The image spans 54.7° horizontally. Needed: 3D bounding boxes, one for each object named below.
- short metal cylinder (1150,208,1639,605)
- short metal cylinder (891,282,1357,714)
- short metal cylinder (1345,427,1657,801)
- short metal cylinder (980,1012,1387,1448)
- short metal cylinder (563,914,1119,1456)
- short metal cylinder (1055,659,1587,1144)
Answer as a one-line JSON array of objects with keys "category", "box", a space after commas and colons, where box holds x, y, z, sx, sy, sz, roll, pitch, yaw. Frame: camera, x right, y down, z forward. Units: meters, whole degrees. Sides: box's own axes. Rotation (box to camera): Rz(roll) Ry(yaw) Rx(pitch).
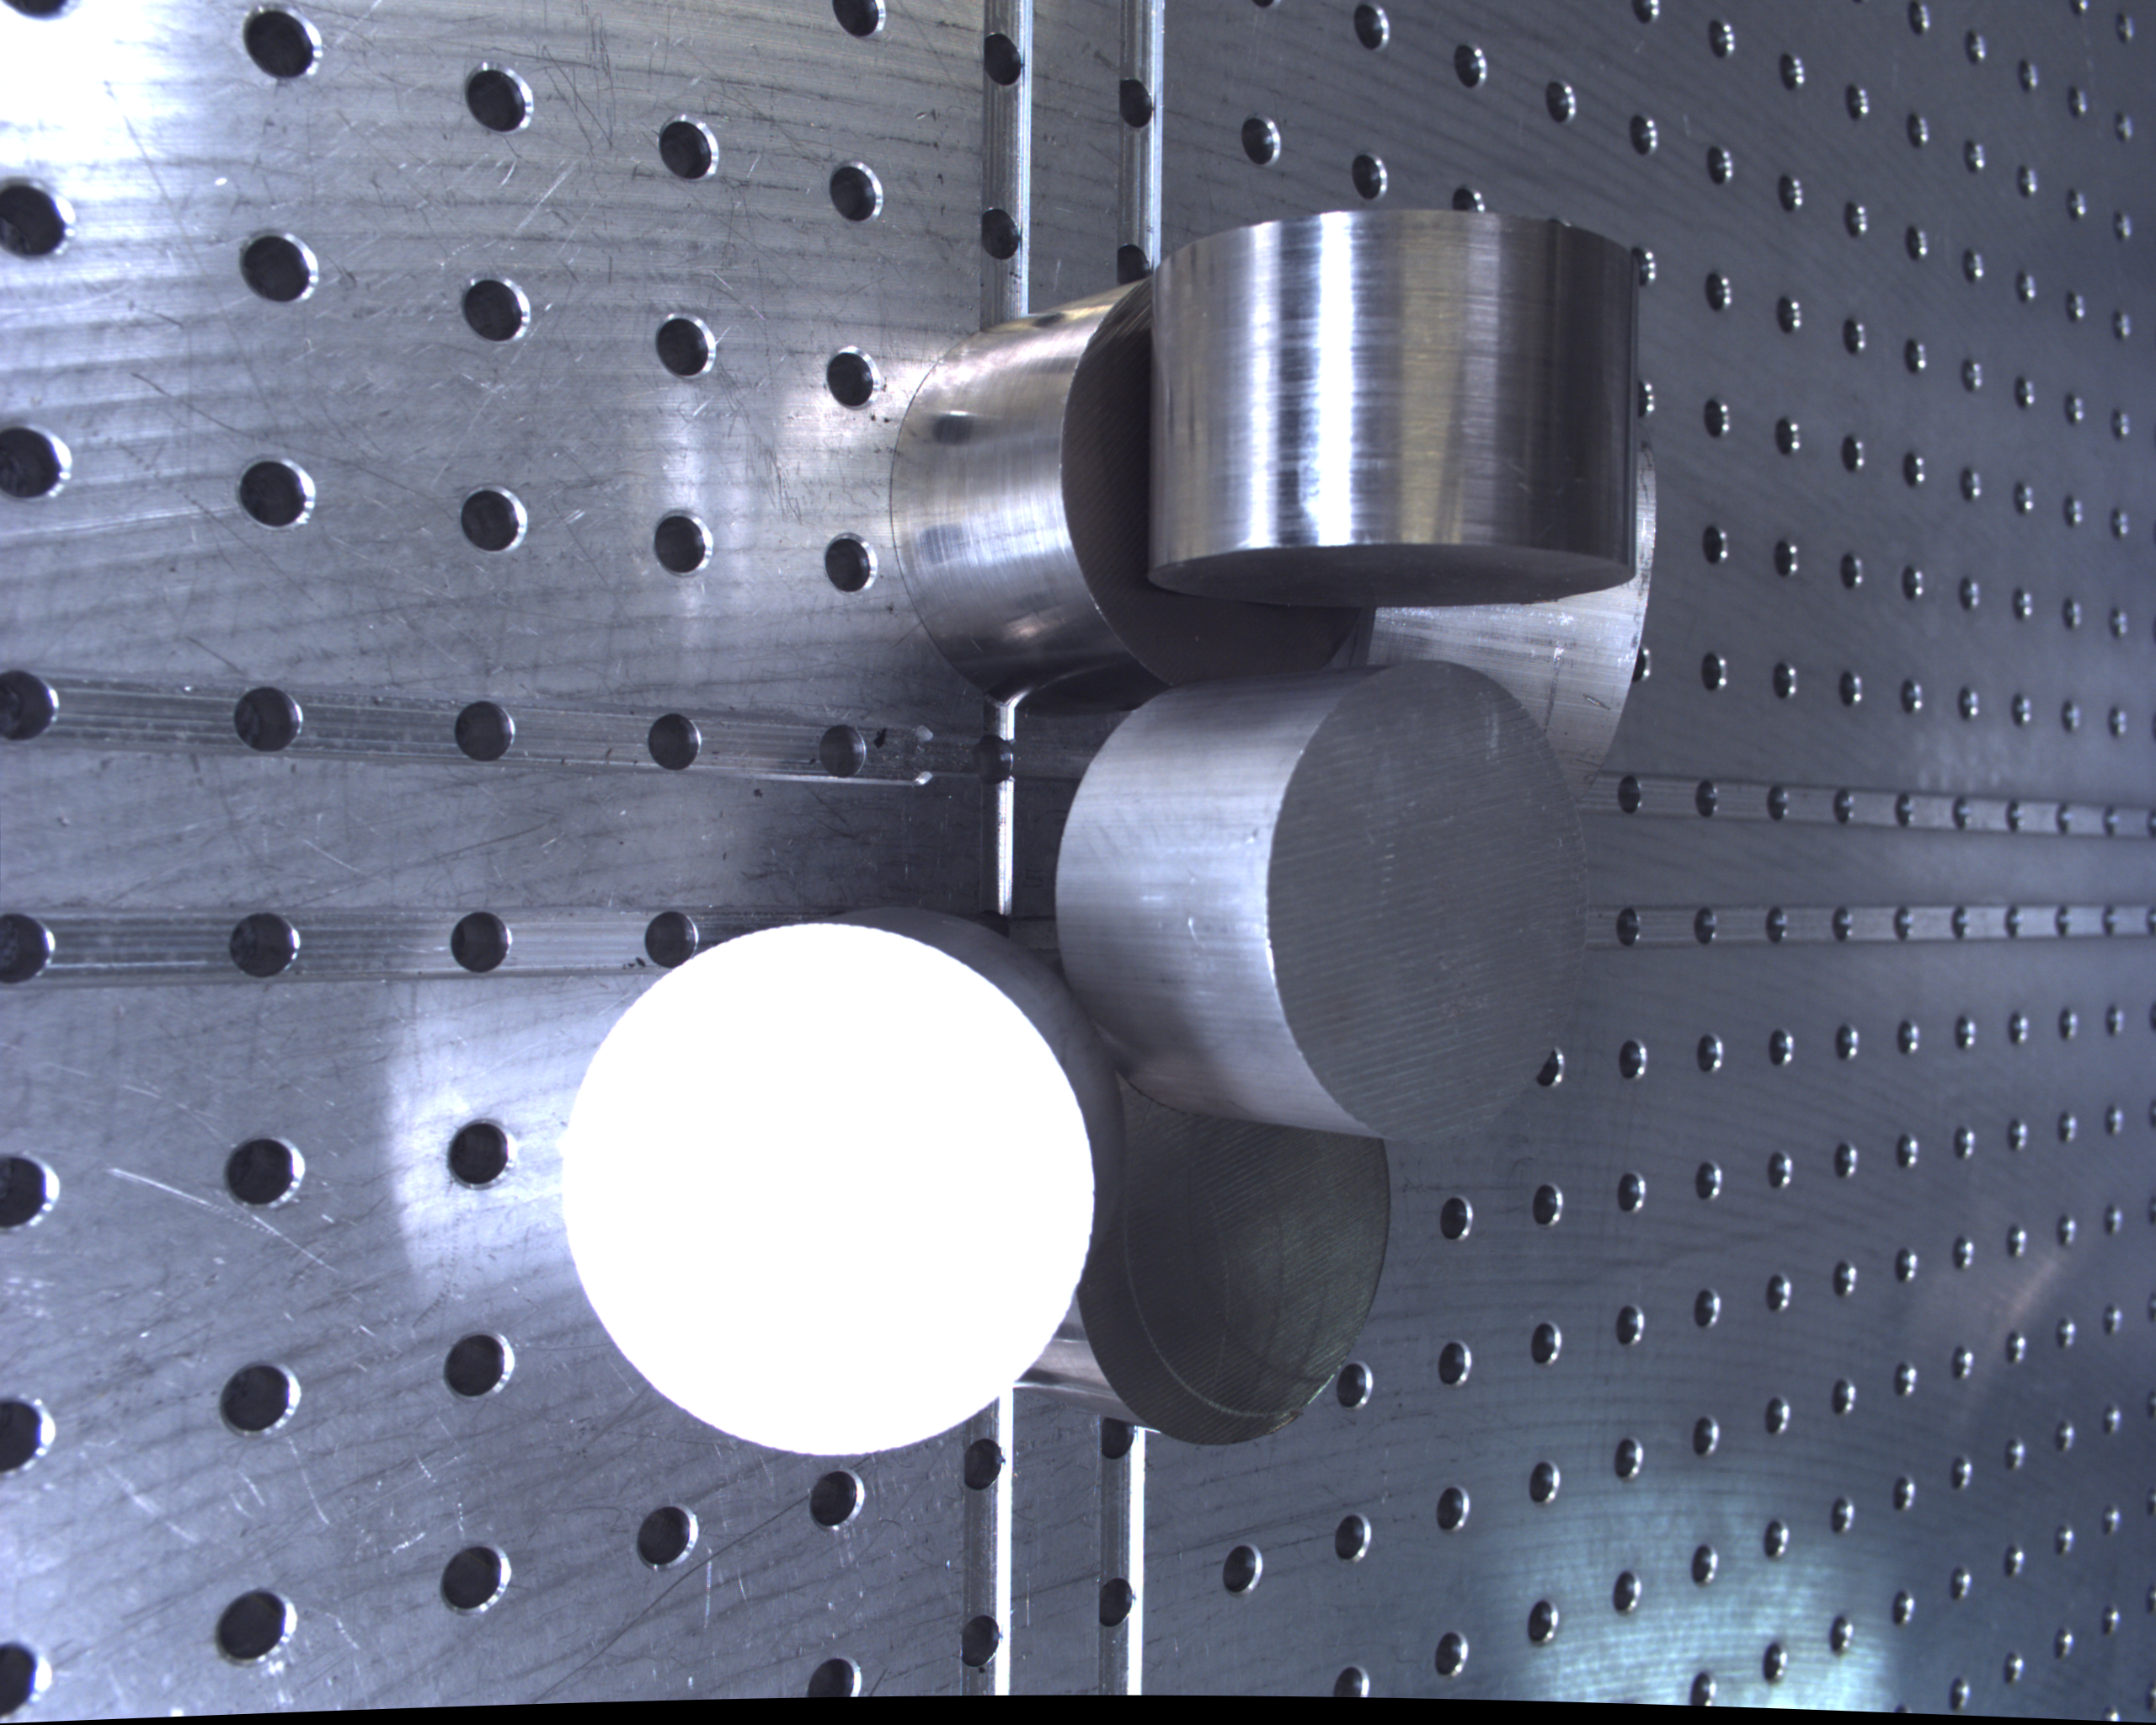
[{"category": "short metal cylinder", "box": [0.053, -0.073, 0.350, 0.081, 0.080, 0.050, 0, 90, -40]}, {"category": "short metal cylinder", "box": [0.012, -0.069, 0.402, 0.081, 0.050, 0.079, -1, 91, -40]}, {"category": "short metal cylinder", "box": [0.084, -0.055, 0.434, 0.050, 0.080, 0.080, 8, 83, 1]}, {"category": "short metal cylinder", "box": [0.014, 0.067, 0.403, 0.081, 0.050, 0.079, -1, 92, -40]}, {"category": "short metal cylinder", "box": [-0.035, 0.048, 0.336, 0.050, 0.080, 0.079, -16, 104, -84]}, {"category": "short metal cylinder", "box": [0.043, 0.006, 0.362, 0.081, 0.050, 0.079, 0, 90, -40]}]
